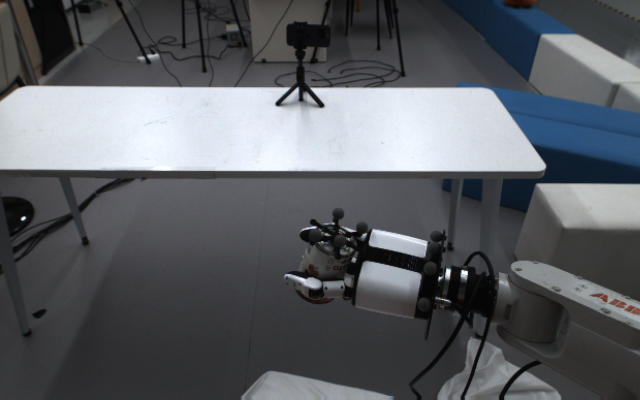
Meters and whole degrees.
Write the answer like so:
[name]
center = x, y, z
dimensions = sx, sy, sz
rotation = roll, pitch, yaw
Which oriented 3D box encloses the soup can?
[soup can]
center = 0.008, 0.093, 0.703
dimensions = 0.067, 0.101, 0.067
rotation = 14, 35, -10
